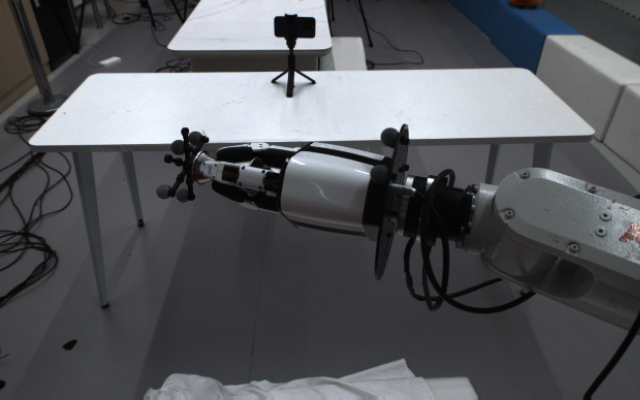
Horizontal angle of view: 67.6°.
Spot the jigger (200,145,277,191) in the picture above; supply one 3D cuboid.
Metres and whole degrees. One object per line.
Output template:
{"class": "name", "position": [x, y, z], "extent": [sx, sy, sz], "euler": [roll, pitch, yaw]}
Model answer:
{"class": "jigger", "position": [-0.099, -0.035, 0.538], "extent": [0.071, 0.043, 0.043], "euler": [10, 35, 16]}
